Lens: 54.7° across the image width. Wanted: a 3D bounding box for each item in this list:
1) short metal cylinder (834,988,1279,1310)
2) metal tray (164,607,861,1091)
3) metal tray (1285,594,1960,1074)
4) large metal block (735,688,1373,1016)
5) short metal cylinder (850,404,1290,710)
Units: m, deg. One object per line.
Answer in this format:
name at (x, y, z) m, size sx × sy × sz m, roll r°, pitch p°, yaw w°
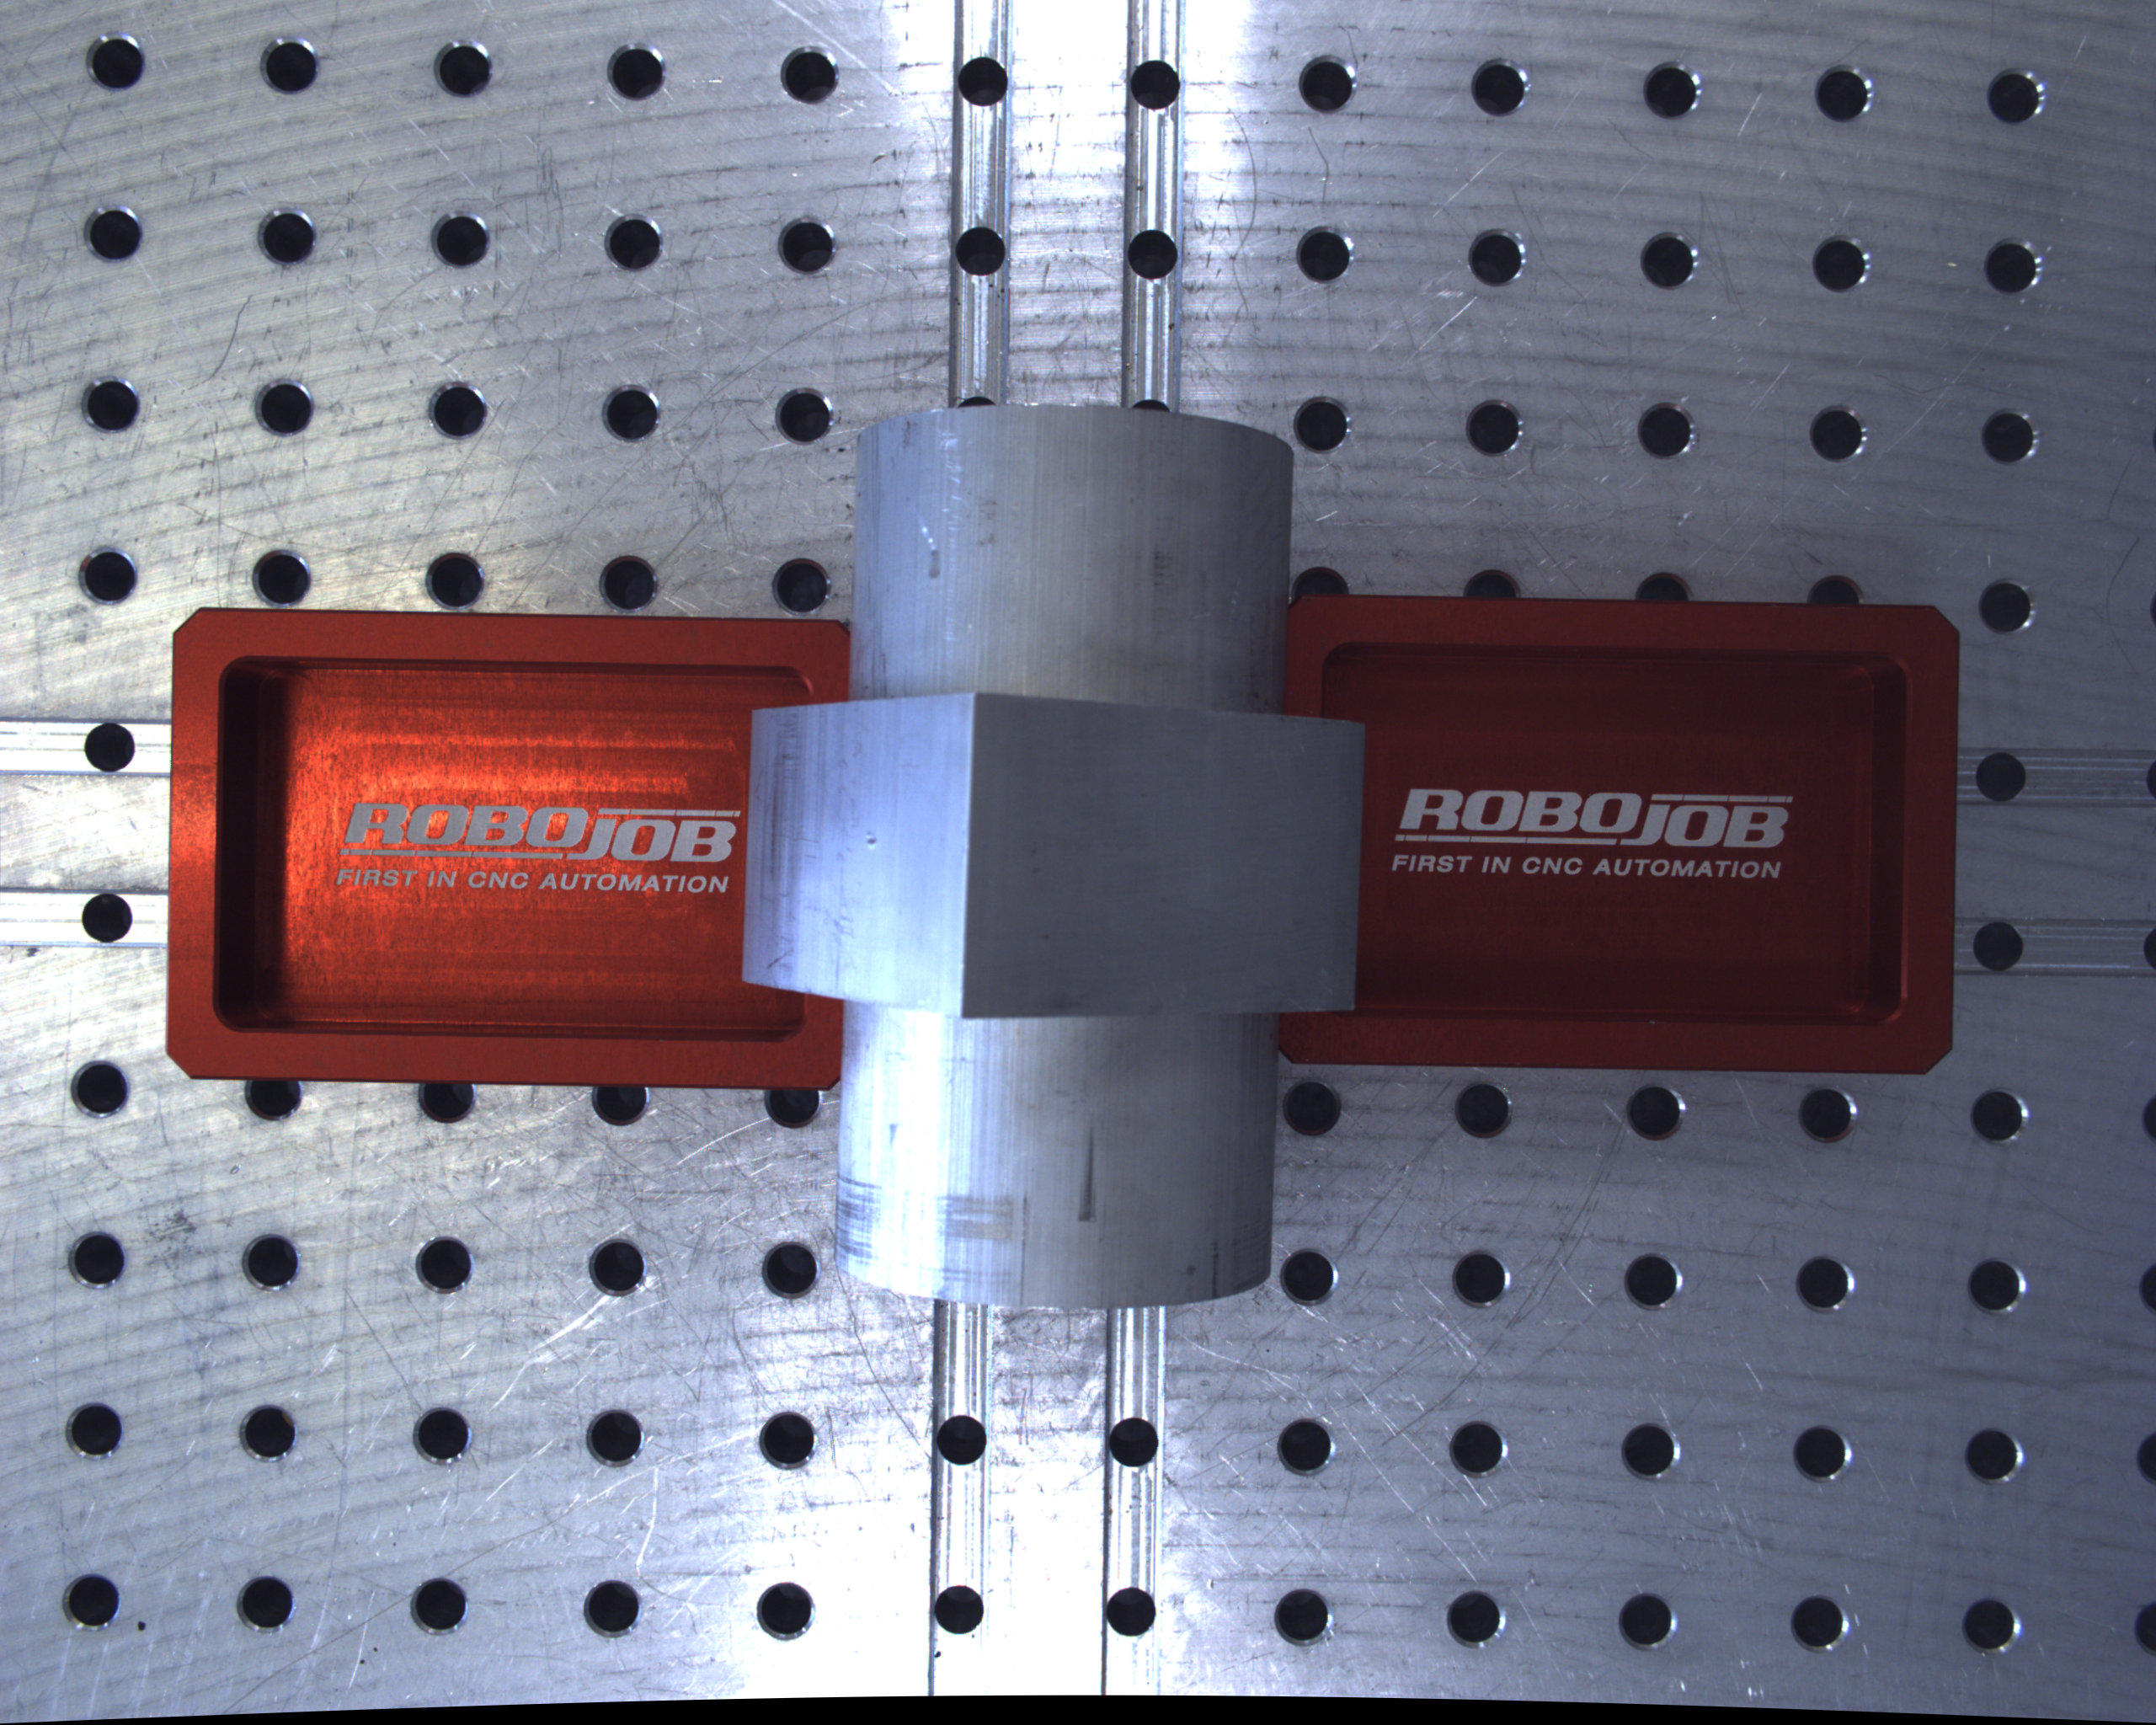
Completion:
short metal cylinder at (-0.004, 0.049, 0.385) m, size 0.081 × 0.080 × 0.050 m, roll 2°, pitch 90°, yaw 0°
metal tray at (-0.107, -0.003, 0.409) m, size 0.131 × 0.030 × 0.089 m, roll 1°, pitch 90°, yaw 0°
metal tray at (0.102, -0.005, 0.411) m, size 0.131 × 0.030 × 0.089 m, roll 1°, pitch 90°, yaw 0°
large metal block at (-0.006, -0.001, 0.371) m, size 0.081 × 0.080 × 0.050 m, roll 2°, pitch 90°, yaw -34°
short metal cylinder at (-0.001, -0.051, 0.385) m, size 0.081 × 0.080 × 0.050 m, roll 1°, pitch 90°, yaw 0°
